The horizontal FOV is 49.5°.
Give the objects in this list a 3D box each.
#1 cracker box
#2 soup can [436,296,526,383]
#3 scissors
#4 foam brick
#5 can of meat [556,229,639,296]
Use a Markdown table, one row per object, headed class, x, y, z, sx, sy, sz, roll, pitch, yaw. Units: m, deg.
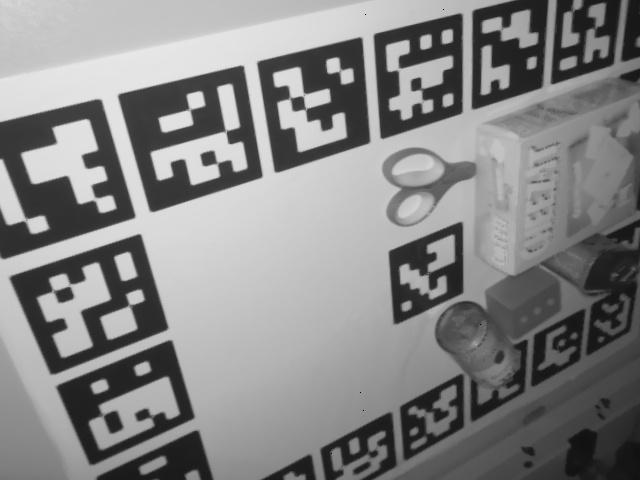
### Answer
| class | x | y | z | sx | sy | sz | roll | pitch | yaw |
| --- | --- | --- | --- | --- | --- | --- | --- | --- | --- |
| cracker box | 0.291 | -0.086 | 0.746 | 0.216 | 0.071 | 0.163 | -24 | 121 | -23 |
| soup can | 0.188 | 0.117 | 0.806 | 0.068 | 0.067 | 0.102 | -50 | 130 | -1 |
| scissors | 0.171 | -0.096 | 0.713 | 0.205 | 0.016 | 0.087 | -22 | 119 | -20 |
| foam brick | 0.259 | 0.070 | 0.826 | 0.079 | 0.051 | 0.052 | -27 | 121 | -16 |
| can of meat | 0.349 | 0.022 | 0.833 | 0.103 | 0.083 | 0.057 | -3 | 112 | -27 |
